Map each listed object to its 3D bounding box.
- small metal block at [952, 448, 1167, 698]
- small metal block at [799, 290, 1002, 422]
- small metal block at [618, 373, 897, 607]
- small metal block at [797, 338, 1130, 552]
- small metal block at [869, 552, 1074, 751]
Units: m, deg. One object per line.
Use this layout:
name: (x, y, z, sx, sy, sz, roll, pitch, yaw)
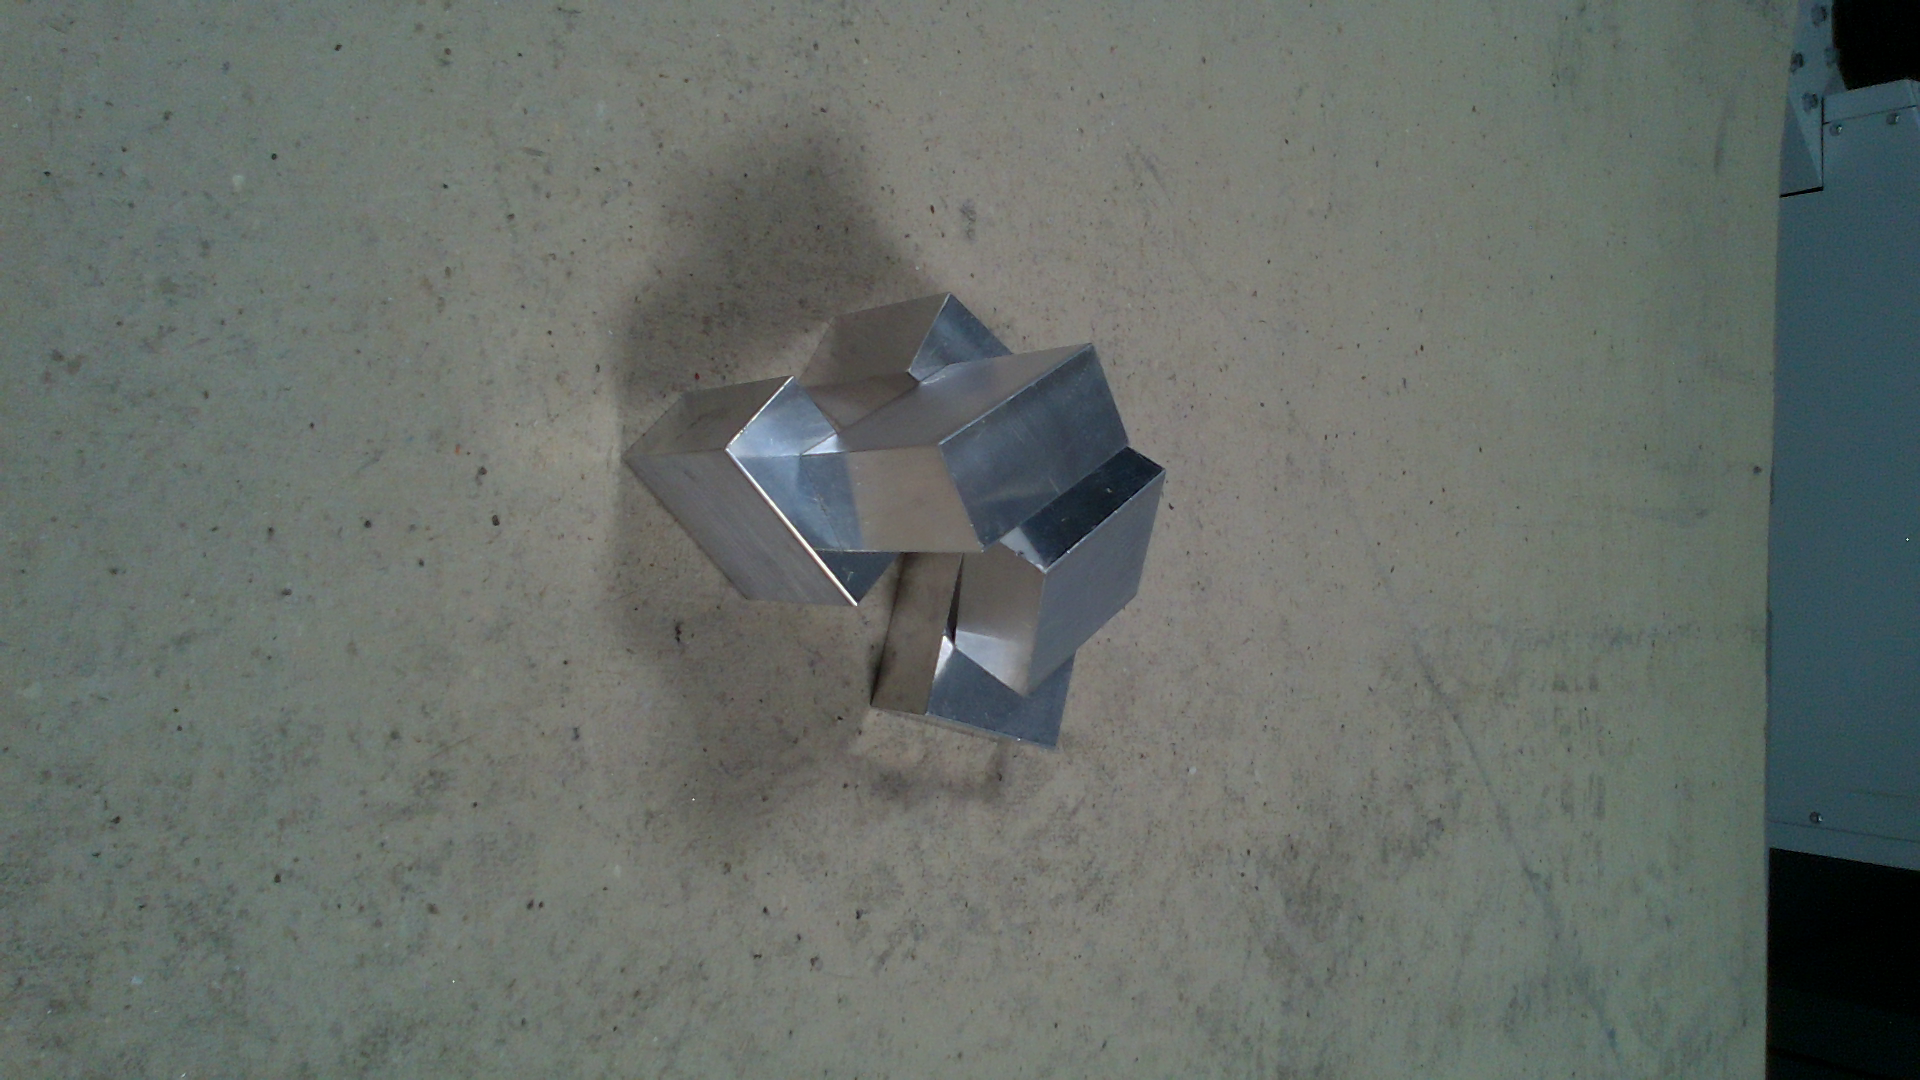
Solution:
small metal block: (0.025, 0.005, 0.362, 0.050, 0.025, 0.050, -38, 151, -33)
small metal block: (-0.008, -0.038, 0.367, 0.050, 0.050, 0.025, 39, 66, -33)
small metal block: (-0.047, -0.011, 0.334, 0.025, 0.050, 0.050, -52, 120, -27)
small metal block: (0.001, -0.021, 0.309, 0.050, 0.050, 0.025, -36, 112, -34)
small metal block: (0.006, 0.030, 0.394, 0.050, 0.025, 0.050, 20, 77, -38)
